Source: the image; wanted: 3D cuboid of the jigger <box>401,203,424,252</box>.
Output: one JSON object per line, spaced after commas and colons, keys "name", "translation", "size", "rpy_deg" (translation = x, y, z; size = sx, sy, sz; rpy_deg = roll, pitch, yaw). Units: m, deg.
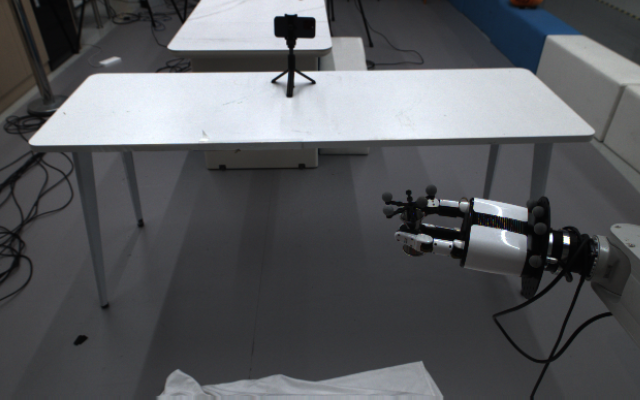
{"name": "jigger", "translation": [0.152, 0.050, 0.783], "size": [0.043, 0.071, 0.043], "rpy_deg": [-10, 32, 6]}
